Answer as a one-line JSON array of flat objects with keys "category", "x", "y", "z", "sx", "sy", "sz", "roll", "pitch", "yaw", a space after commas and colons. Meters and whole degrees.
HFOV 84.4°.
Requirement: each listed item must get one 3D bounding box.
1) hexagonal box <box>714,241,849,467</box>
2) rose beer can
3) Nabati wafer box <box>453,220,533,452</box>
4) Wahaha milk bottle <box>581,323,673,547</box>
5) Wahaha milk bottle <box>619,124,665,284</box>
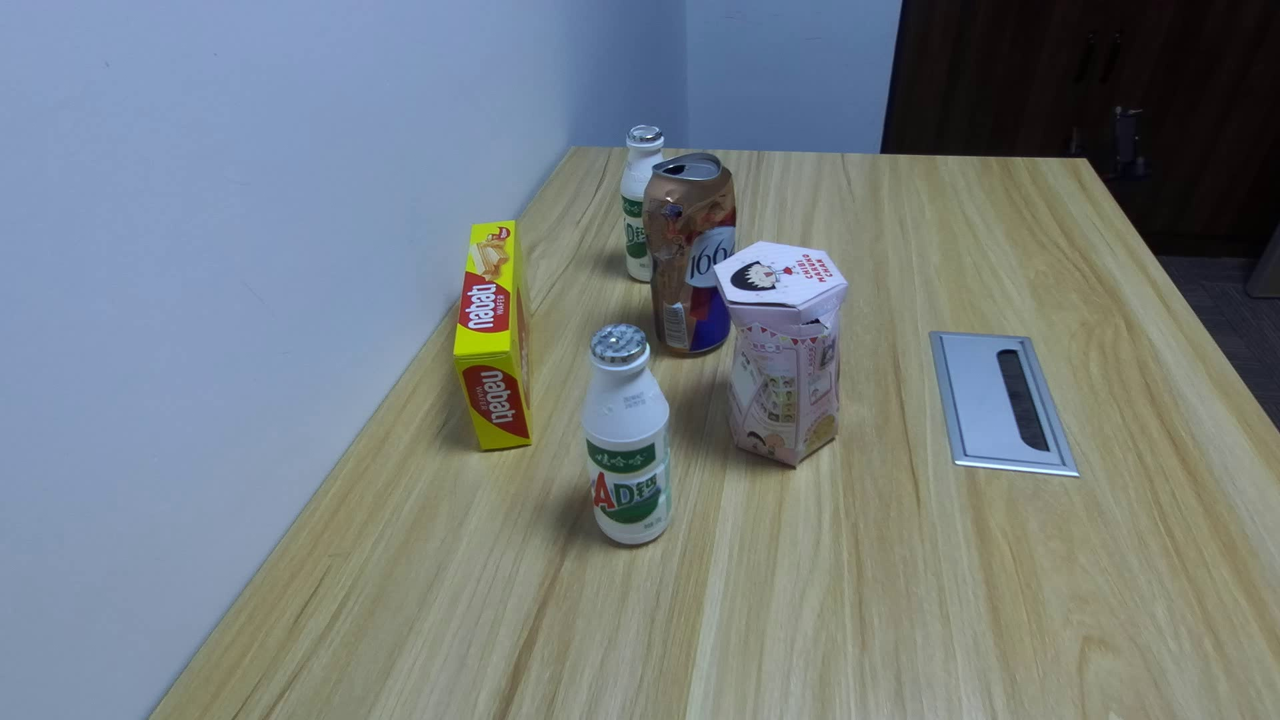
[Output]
[{"category": "hexagonal box", "x": 0.096, "y": -0.002, "z": 0.493, "sx": 0.090, "sy": 0.135, "sz": 0.091, "roll": 17, "pitch": 43, "yaw": 30}, {"category": "rose beer can", "x": 0.042, "y": -0.084, "z": 0.580, "sx": 0.068, "sy": 0.162, "sz": 0.073, "roll": 4, "pitch": 38, "yaw": 11}, {"category": "Nabati wafer box", "x": -0.115, "y": -0.029, "z": 0.583, "sx": 0.042, "sy": 0.093, "sz": 0.202, "roll": -7, "pitch": 38, "yaw": -3}, {"category": "Wahaha milk bottle", "x": -0.007, "y": 0.048, "z": 0.429, "sx": 0.053, "sy": 0.147, "sz": 0.053, "roll": -4, "pitch": 38, "yaw": 3}, {"category": "Wahaha milk bottle", "x": 0.009, "y": -0.148, "z": 0.682, "sx": 0.056, "sy": 0.148, "sz": 0.056, "roll": -3, "pitch": 39, "yaw": 2}]
